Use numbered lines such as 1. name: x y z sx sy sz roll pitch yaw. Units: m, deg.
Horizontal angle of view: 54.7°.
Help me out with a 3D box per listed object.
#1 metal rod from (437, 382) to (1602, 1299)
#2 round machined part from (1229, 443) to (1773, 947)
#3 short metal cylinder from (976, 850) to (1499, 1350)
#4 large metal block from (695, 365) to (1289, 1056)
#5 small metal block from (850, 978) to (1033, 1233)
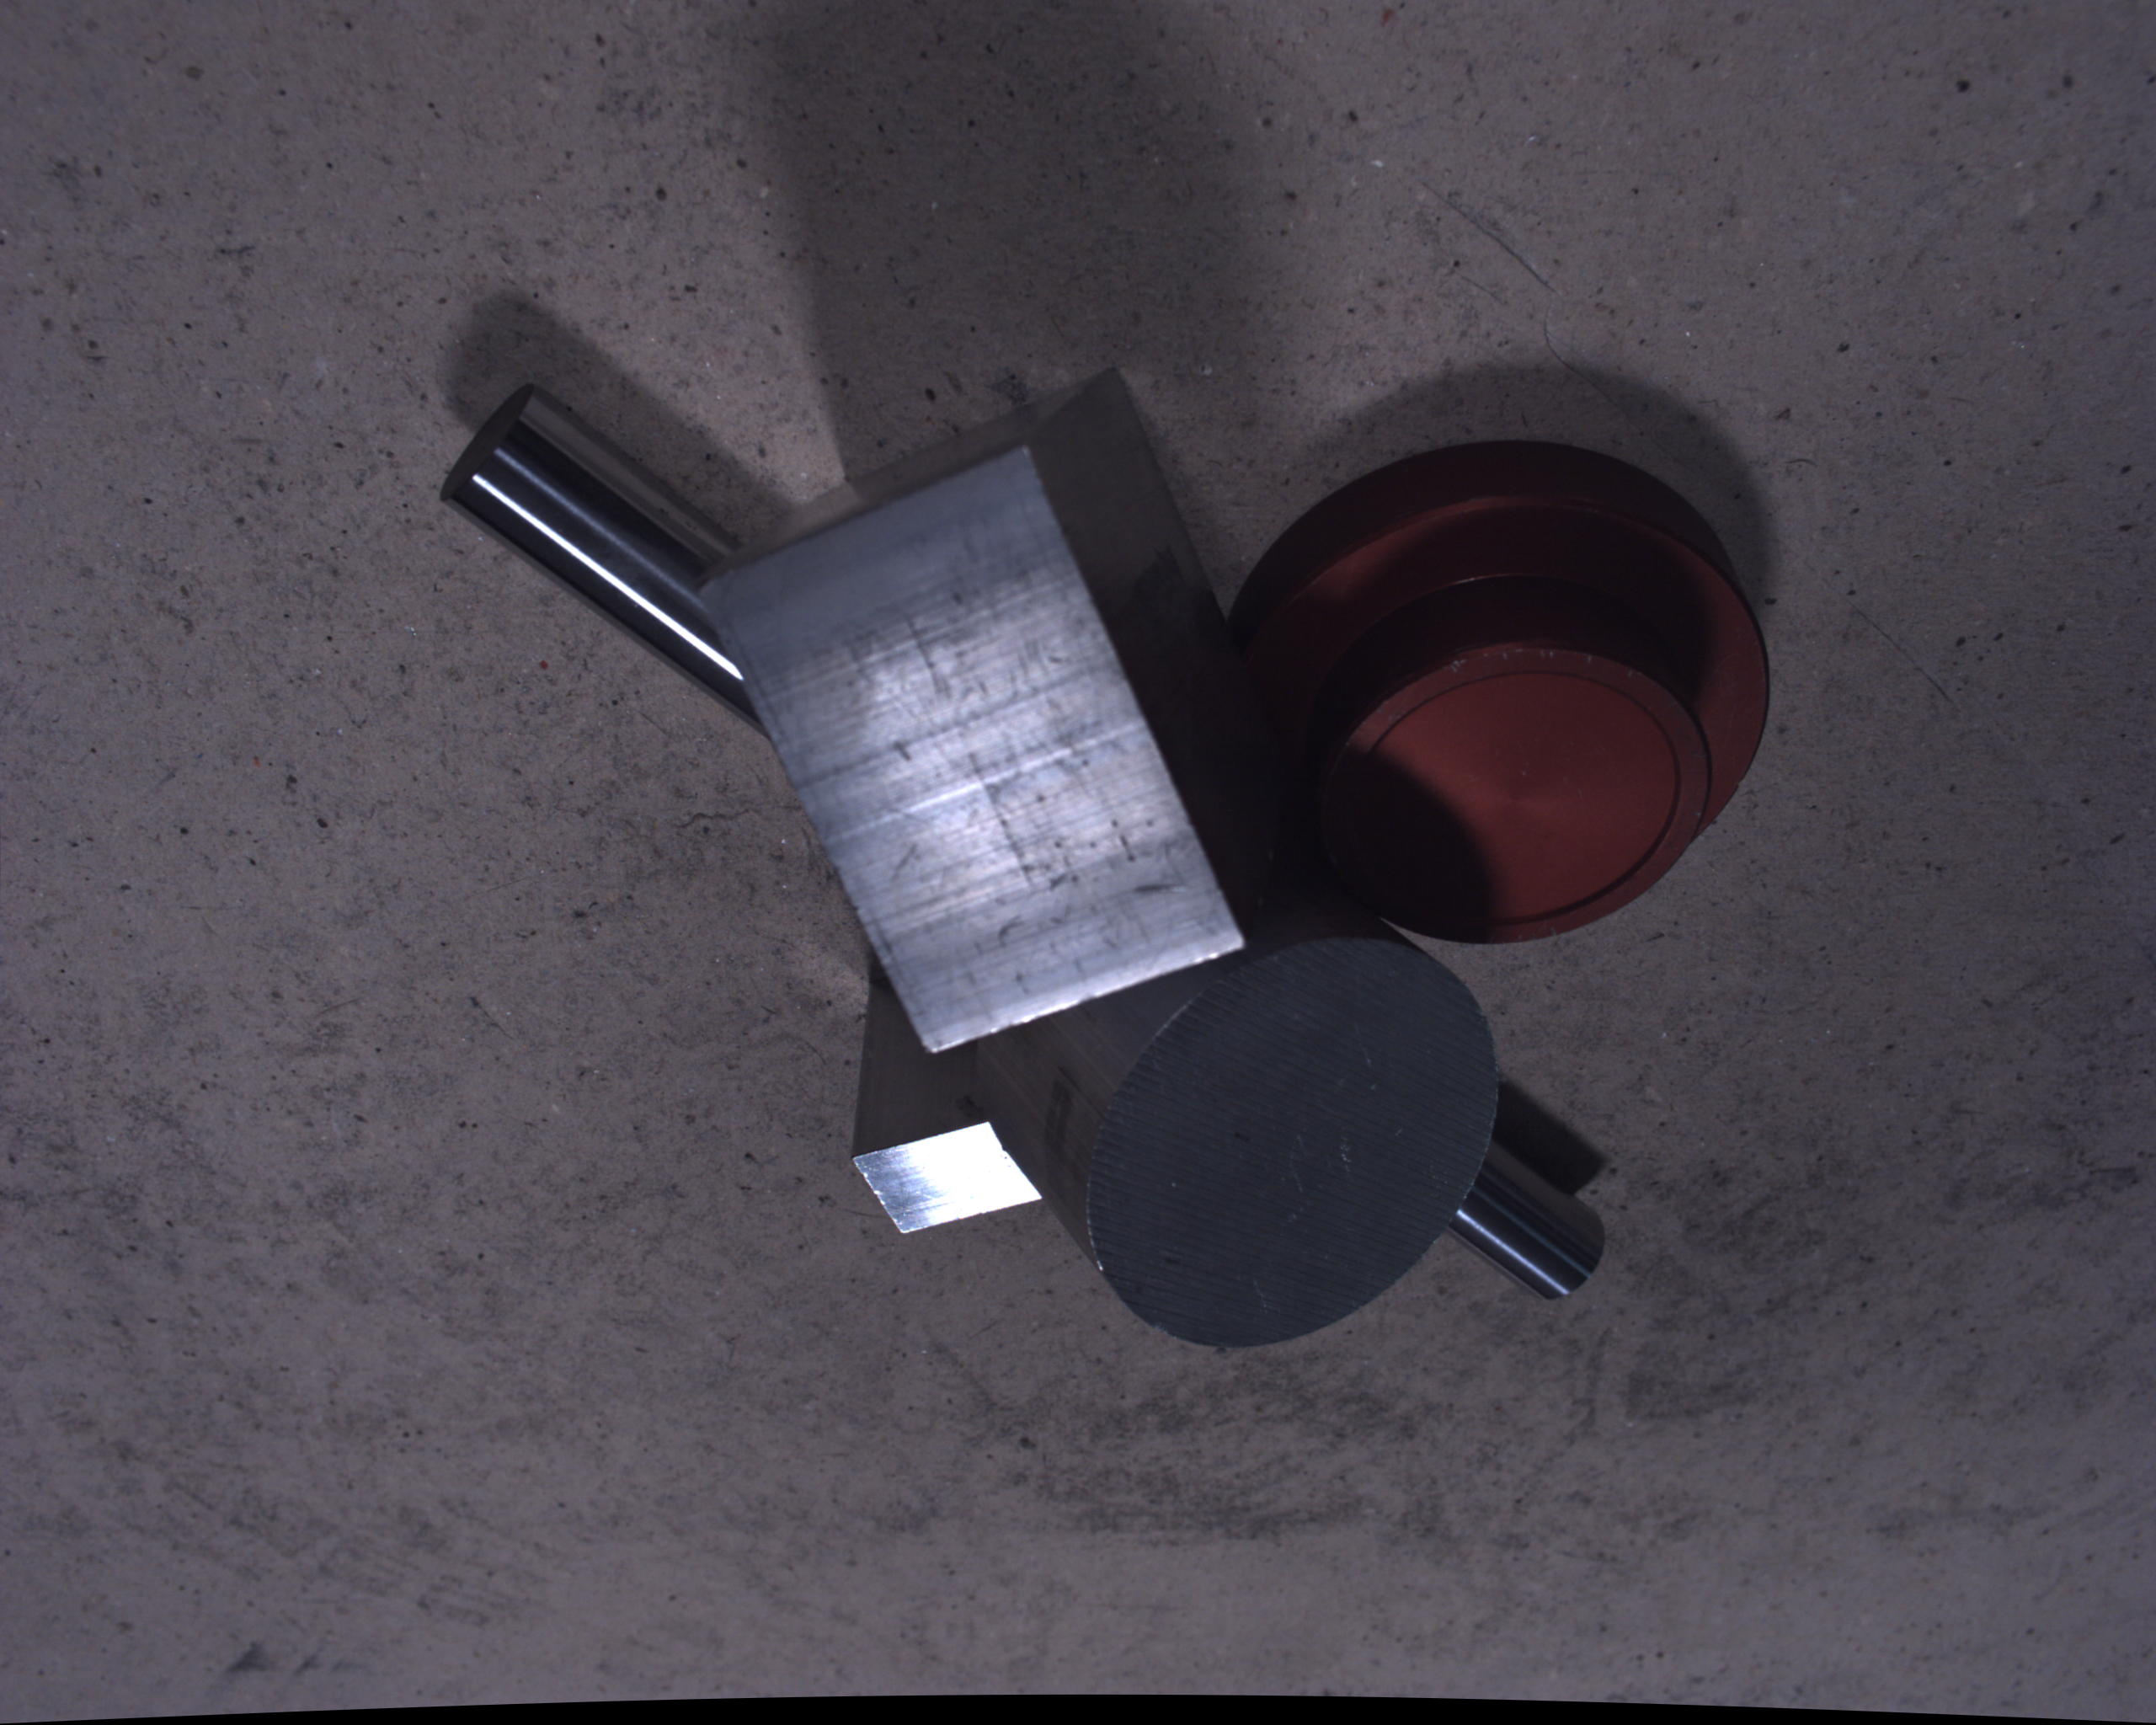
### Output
1. metal rod: 0.006 0.010 0.418 0.025 0.025 0.301 -37 122 27
2. round machined part: 0.076 -0.023 0.378 0.099 0.042 0.097 -1 130 0
3. short metal cylinder: 0.028 0.040 0.378 0.081 0.050 0.079 -10 115 -21
4. large metal block: -0.008 -0.028 0.335 0.050 0.080 0.080 -20 106 17
5. small metal block: -0.017 0.043 0.430 0.050 0.050 0.025 -17 128 13
